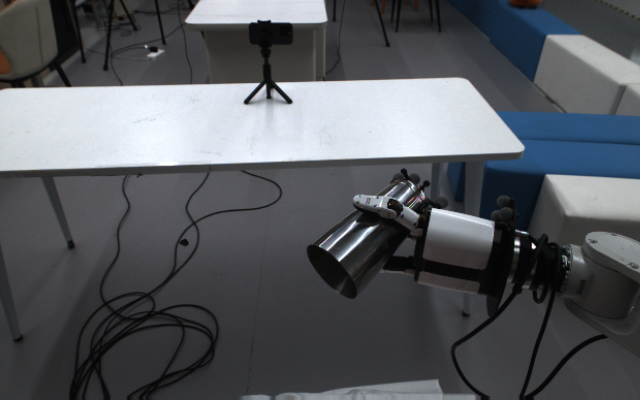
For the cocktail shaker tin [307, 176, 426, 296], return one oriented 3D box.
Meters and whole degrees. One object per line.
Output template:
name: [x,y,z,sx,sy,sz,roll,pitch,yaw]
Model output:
cocktail shaker tin: [0.074,0.040,0.670,0.170,0.093,0.093,-39,50,-24]
